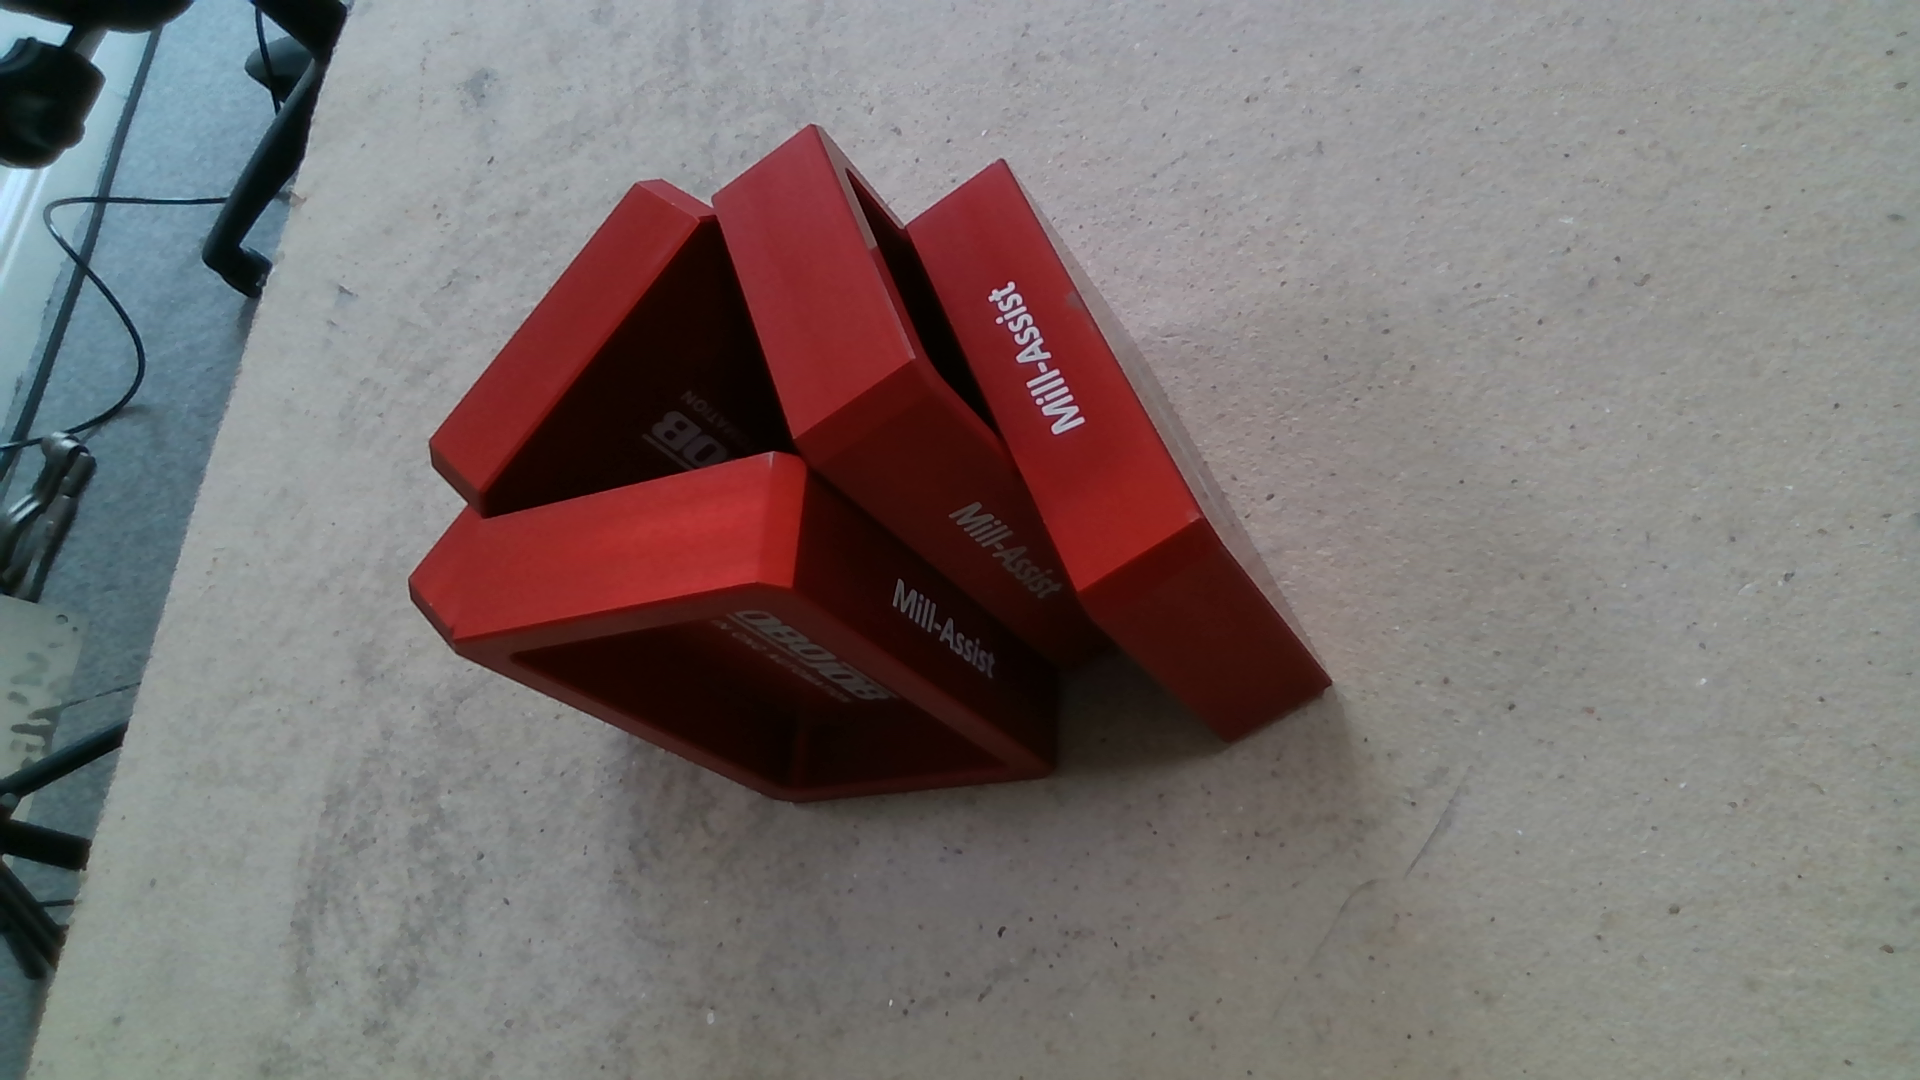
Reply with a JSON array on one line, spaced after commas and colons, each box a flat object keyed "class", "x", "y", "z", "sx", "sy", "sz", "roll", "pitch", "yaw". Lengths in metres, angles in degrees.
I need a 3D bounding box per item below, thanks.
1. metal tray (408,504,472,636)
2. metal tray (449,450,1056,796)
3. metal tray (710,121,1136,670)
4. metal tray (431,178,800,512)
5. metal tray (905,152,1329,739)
[{"class": "metal tray", "x": -0.086, "y": -0.013, "z": 0.410, "sx": 0.030, "sy": 0.090, "sz": 0.130, "roll": 35, "pitch": 87, "yaw": 39}, {"class": "metal tray", "x": -0.044, "y": 0.028, "z": 0.336, "sx": 0.090, "sy": 0.130, "sz": 0.030, "roll": -10, "pitch": 60, "yaw": 27}, {"class": "metal tray", "x": -0.003, "y": -0.031, "z": 0.342, "sx": 0.030, "sy": 0.130, "sz": 0.090, "roll": -32, "pitch": 53, "yaw": 13}, {"class": "metal tray", "x": -0.064, "y": -0.023, "z": 0.376, "sx": 0.030, "sy": 0.130, "sz": 0.090, "roll": 35, "pitch": 86, "yaw": 39}, {"class": "metal tray", "x": 0.038, "y": -0.024, "z": 0.340, "sx": 0.030, "sy": 0.090, "sz": 0.130, "roll": -32, "pitch": 53, "yaw": 13}]
